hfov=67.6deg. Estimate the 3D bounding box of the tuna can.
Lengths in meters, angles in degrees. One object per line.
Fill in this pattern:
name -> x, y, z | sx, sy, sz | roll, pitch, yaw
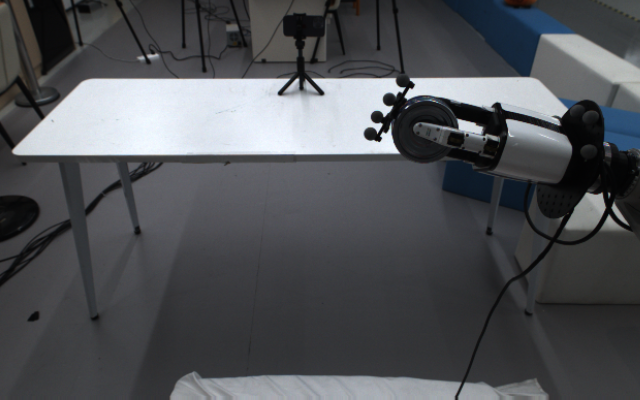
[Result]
tuna can -> 0.140, -0.096, 0.642 | 0.085, 0.085, 0.034 | 3, 20, 1
